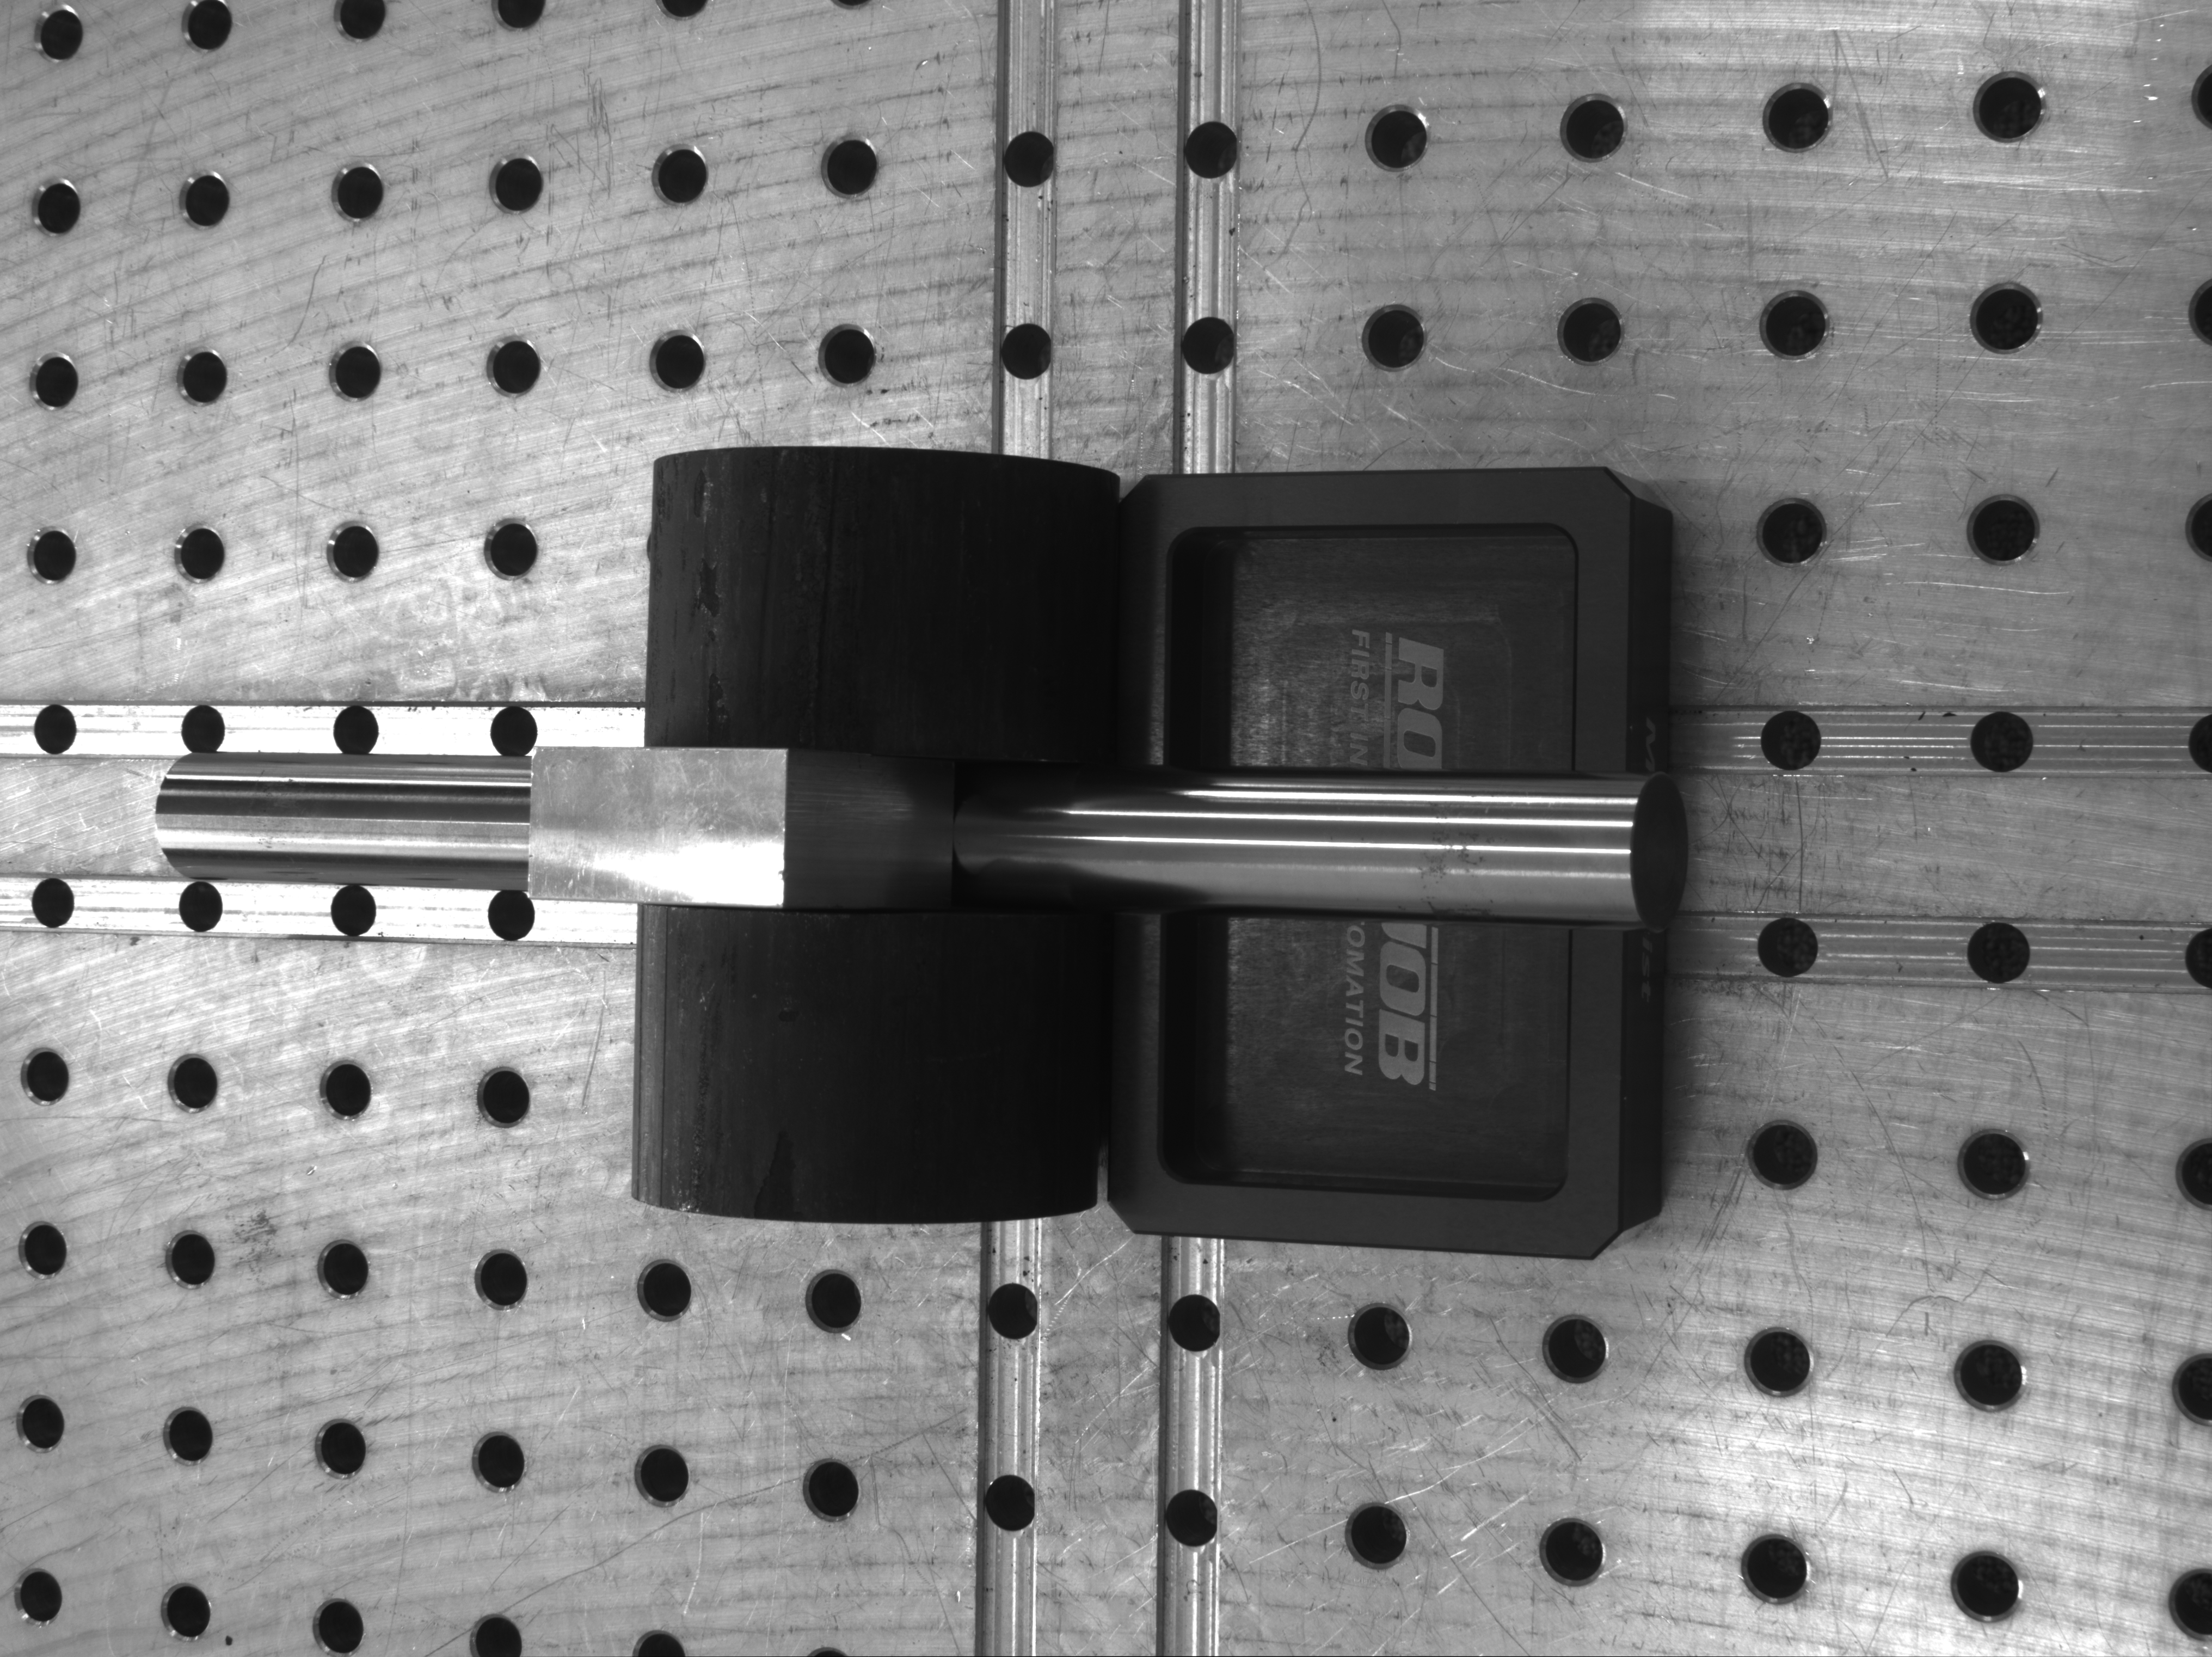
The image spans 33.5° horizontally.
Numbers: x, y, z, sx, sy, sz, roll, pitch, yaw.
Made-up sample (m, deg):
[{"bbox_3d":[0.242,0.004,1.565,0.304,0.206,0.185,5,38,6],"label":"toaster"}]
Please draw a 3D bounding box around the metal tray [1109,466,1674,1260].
[{"bbox_3d":[0.049,0.005,0.629,0.090,0.030,0.130,1,90,20],"label":"metal tray"}]

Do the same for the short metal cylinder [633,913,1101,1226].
[{"bbox_3d":[-0.041,0.039,0.635,0.080,0.080,0.050,2,90,20],"label":"short metal cylinder"}]

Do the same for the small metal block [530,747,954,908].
[{"bbox_3d":[-0.059,0.000,0.607,0.050,0.050,0.025,1,90,28],"label":"small metal block"}]

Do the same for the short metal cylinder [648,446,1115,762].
[{"bbox_3d":[-0.039,-0.037,0.633,0.080,0.080,0.050,1,90,20],"label":"short metal cylinder"}]

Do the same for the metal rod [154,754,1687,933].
[{"bbox_3d":[-0.045,0.001,0.641,0.299,0.025,0.025,1,90,29],"label":"metal rod"}]
